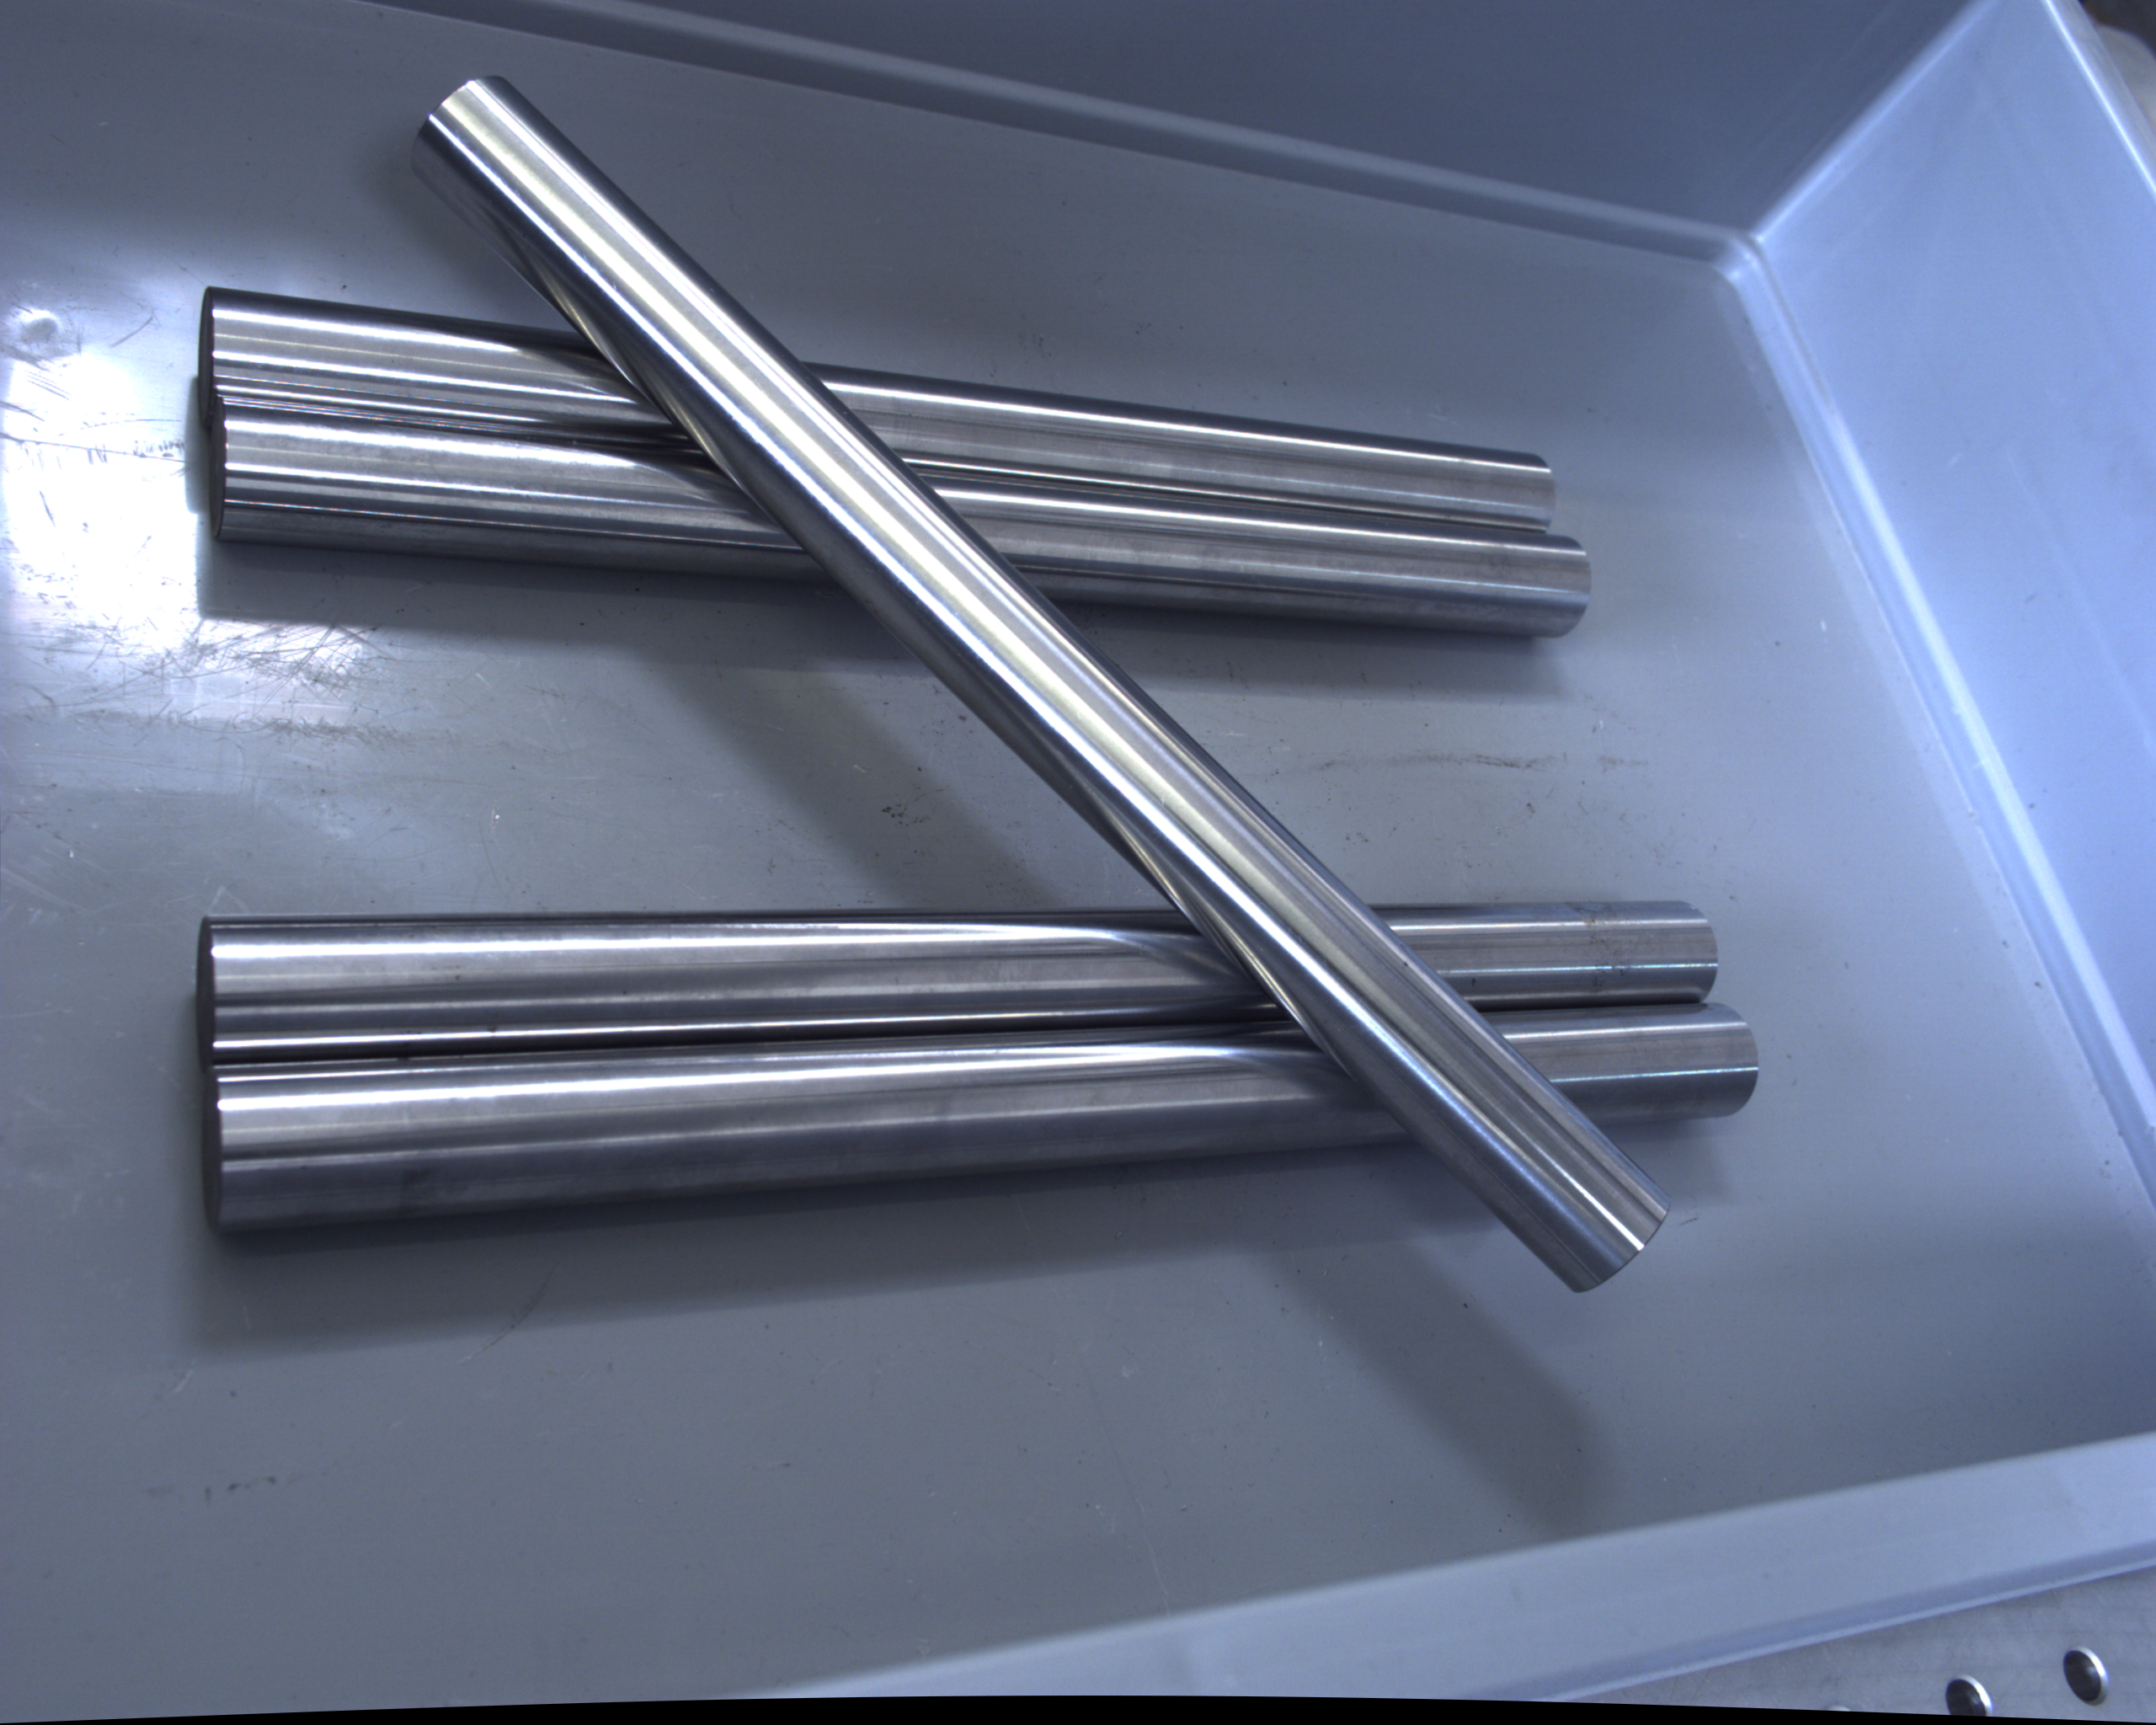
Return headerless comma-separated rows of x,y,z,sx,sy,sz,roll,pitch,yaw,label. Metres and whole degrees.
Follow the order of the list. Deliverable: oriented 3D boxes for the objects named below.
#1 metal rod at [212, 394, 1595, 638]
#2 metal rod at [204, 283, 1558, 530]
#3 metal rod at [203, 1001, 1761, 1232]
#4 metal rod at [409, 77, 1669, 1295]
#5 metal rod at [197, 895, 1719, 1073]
-0.017,-0.068,0.436,0.303,0.025,0.025,0,62,-28,metal rod
-0.023,-0.090,0.446,0.303,0.025,0.025,0,62,-28,metal rod
0.005,0.042,0.380,0.303,0.025,0.025,0,62,-28,metal rod
-0.009,-0.034,0.388,0.300,0.025,0.025,44,51,2,metal rod
0.000,0.020,0.391,0.303,0.025,0.025,0,62,-28,metal rod
